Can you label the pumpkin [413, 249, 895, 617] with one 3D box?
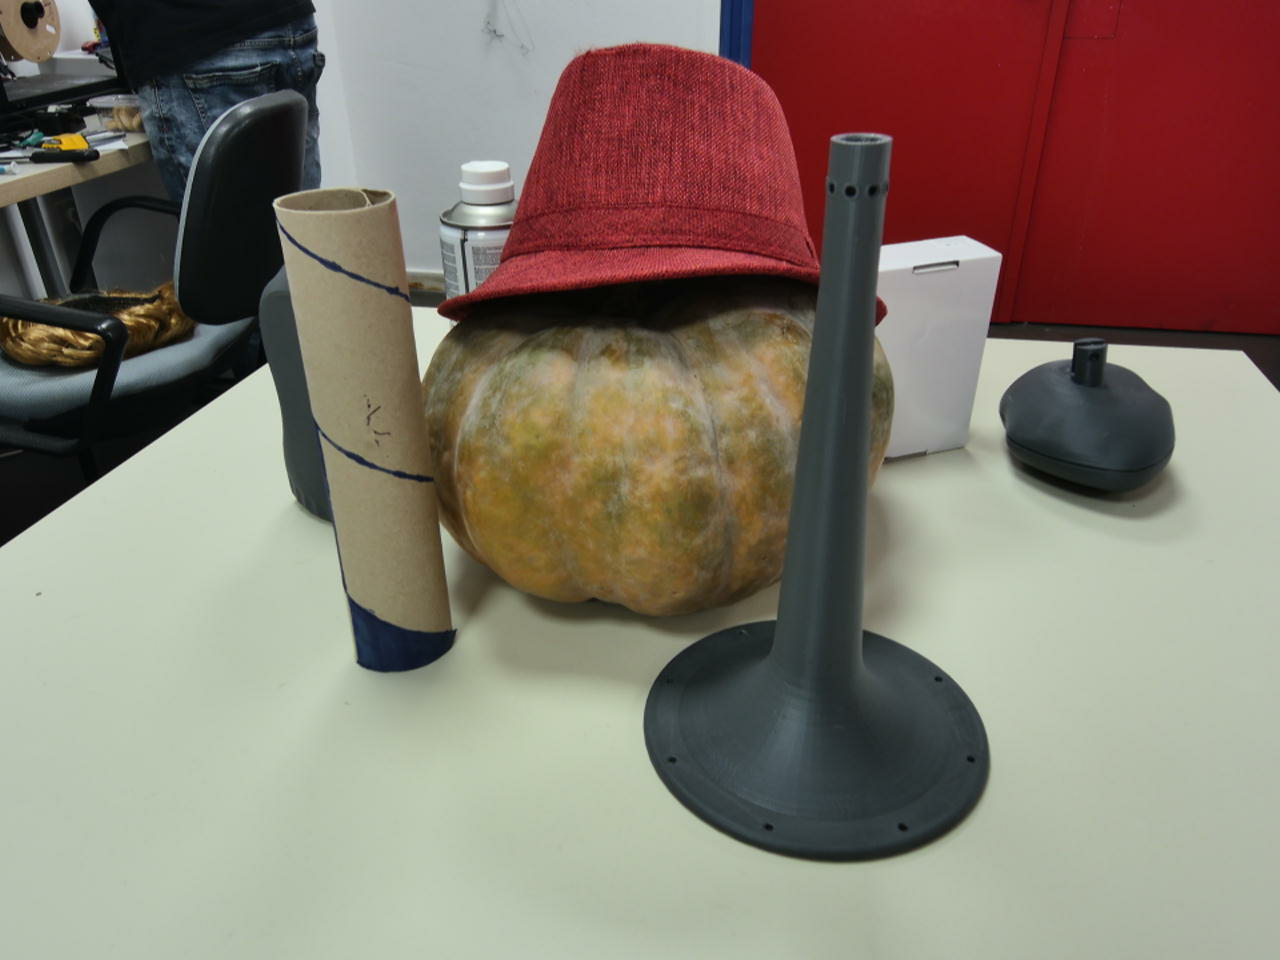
[{"bbox_3d":[0.001,-0.032,0.538,0.252,0.169,0.251,0,26,0],"label":"pumpkin"}]
